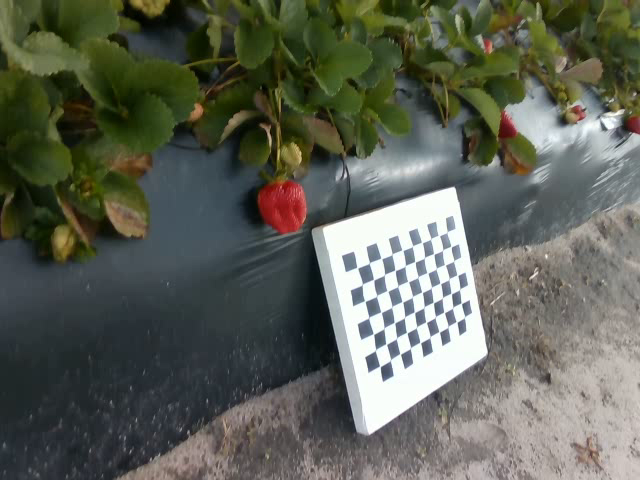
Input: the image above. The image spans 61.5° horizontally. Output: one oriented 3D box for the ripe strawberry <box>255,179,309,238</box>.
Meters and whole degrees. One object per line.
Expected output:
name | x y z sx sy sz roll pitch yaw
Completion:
ripe strawberry | -0.049 -0.044 0.675 0.067 0.075 0.039 -12 2 -37
